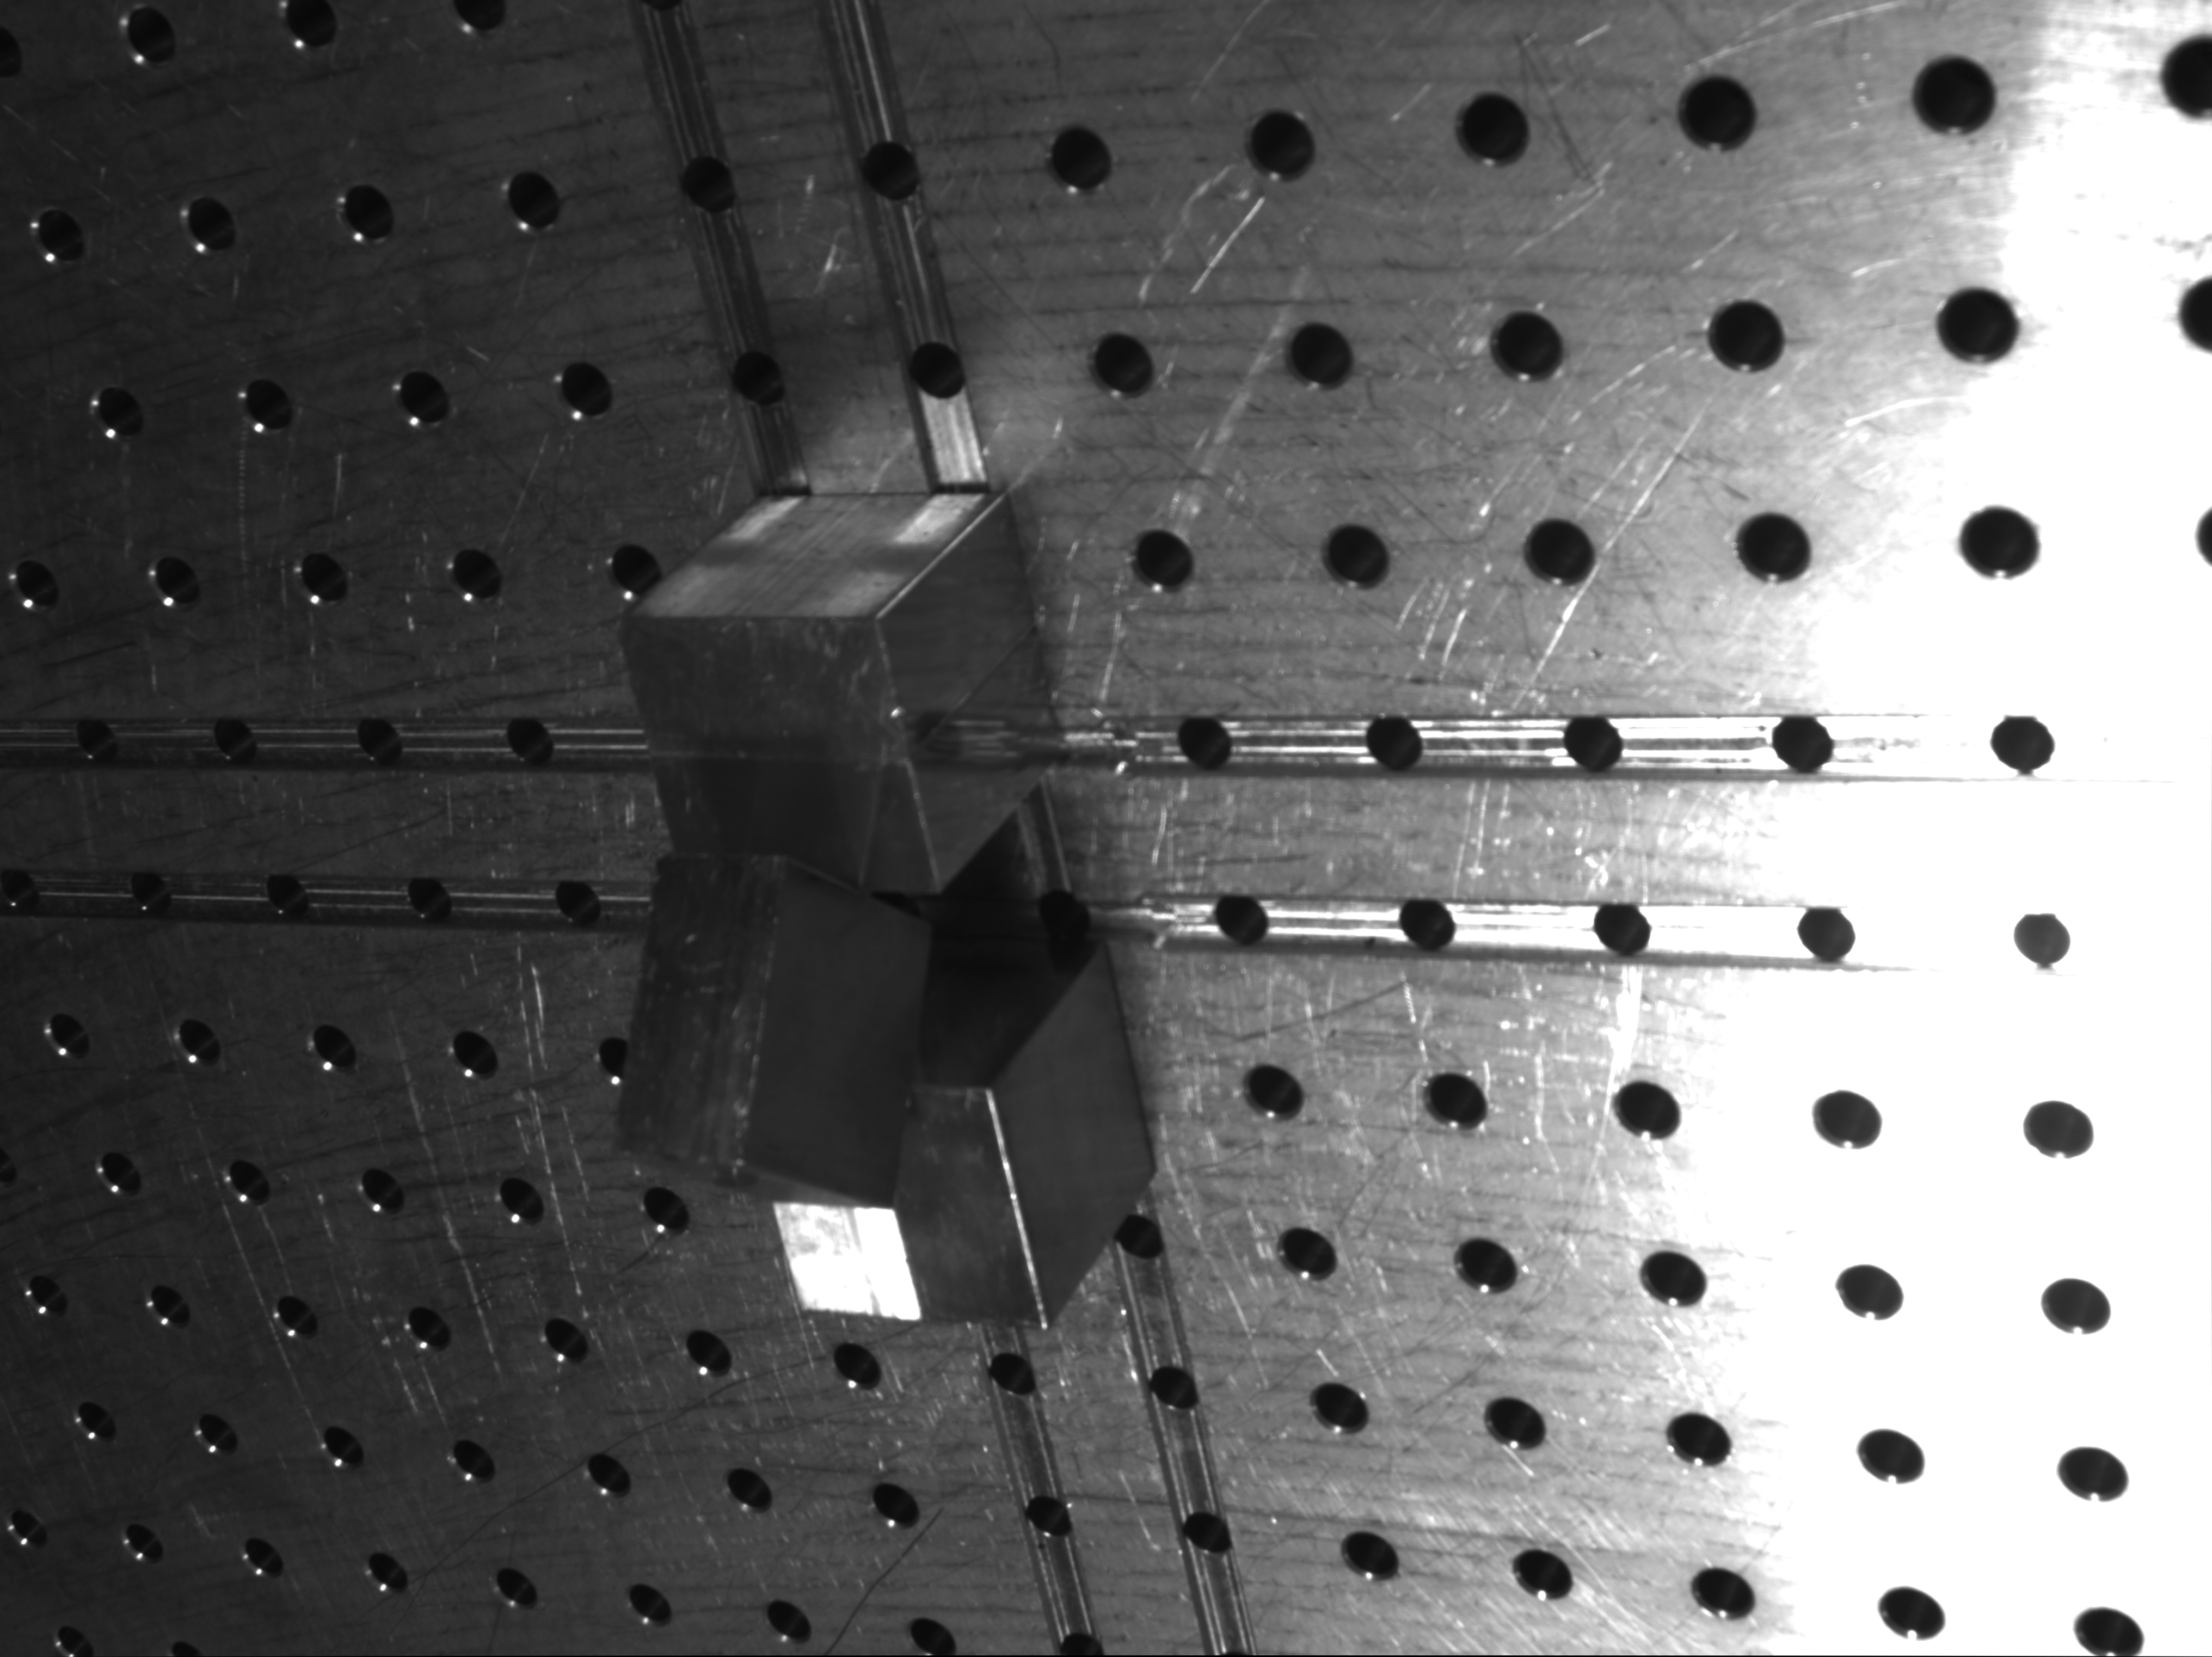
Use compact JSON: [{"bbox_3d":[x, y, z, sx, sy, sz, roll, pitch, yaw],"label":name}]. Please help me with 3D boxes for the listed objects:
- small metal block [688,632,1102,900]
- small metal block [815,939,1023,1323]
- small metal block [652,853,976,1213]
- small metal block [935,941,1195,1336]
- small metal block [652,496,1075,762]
[{"bbox_3d":[-0.035,-0.012,0.628,0.050,0.050,0.025,2,119,26],"label":"small metal block"},{"bbox_3d":[-0.031,0.054,0.666,0.025,0.050,0.050,1,119,26],"label":"small metal block"},{"bbox_3d":[-0.048,0.035,0.610,0.025,0.050,0.050,1,76,27],"label":"small metal block"},{"bbox_3d":[-0.009,0.055,0.654,0.025,0.050,0.050,1,119,26],"label":"small metal block"},{"bbox_3d":[-0.040,-0.034,0.617,0.050,0.050,0.025,2,119,26],"label":"small metal block"}]
